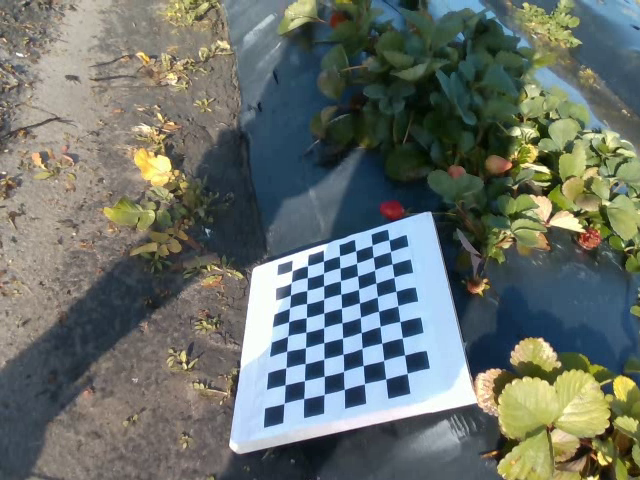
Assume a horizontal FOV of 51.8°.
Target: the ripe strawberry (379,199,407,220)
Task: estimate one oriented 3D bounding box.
[{"bbox_3d":[0.086,-0.034,0.795,0.037,0.033,0.035,23,35,-19],"label":"ripe strawberry"}]
